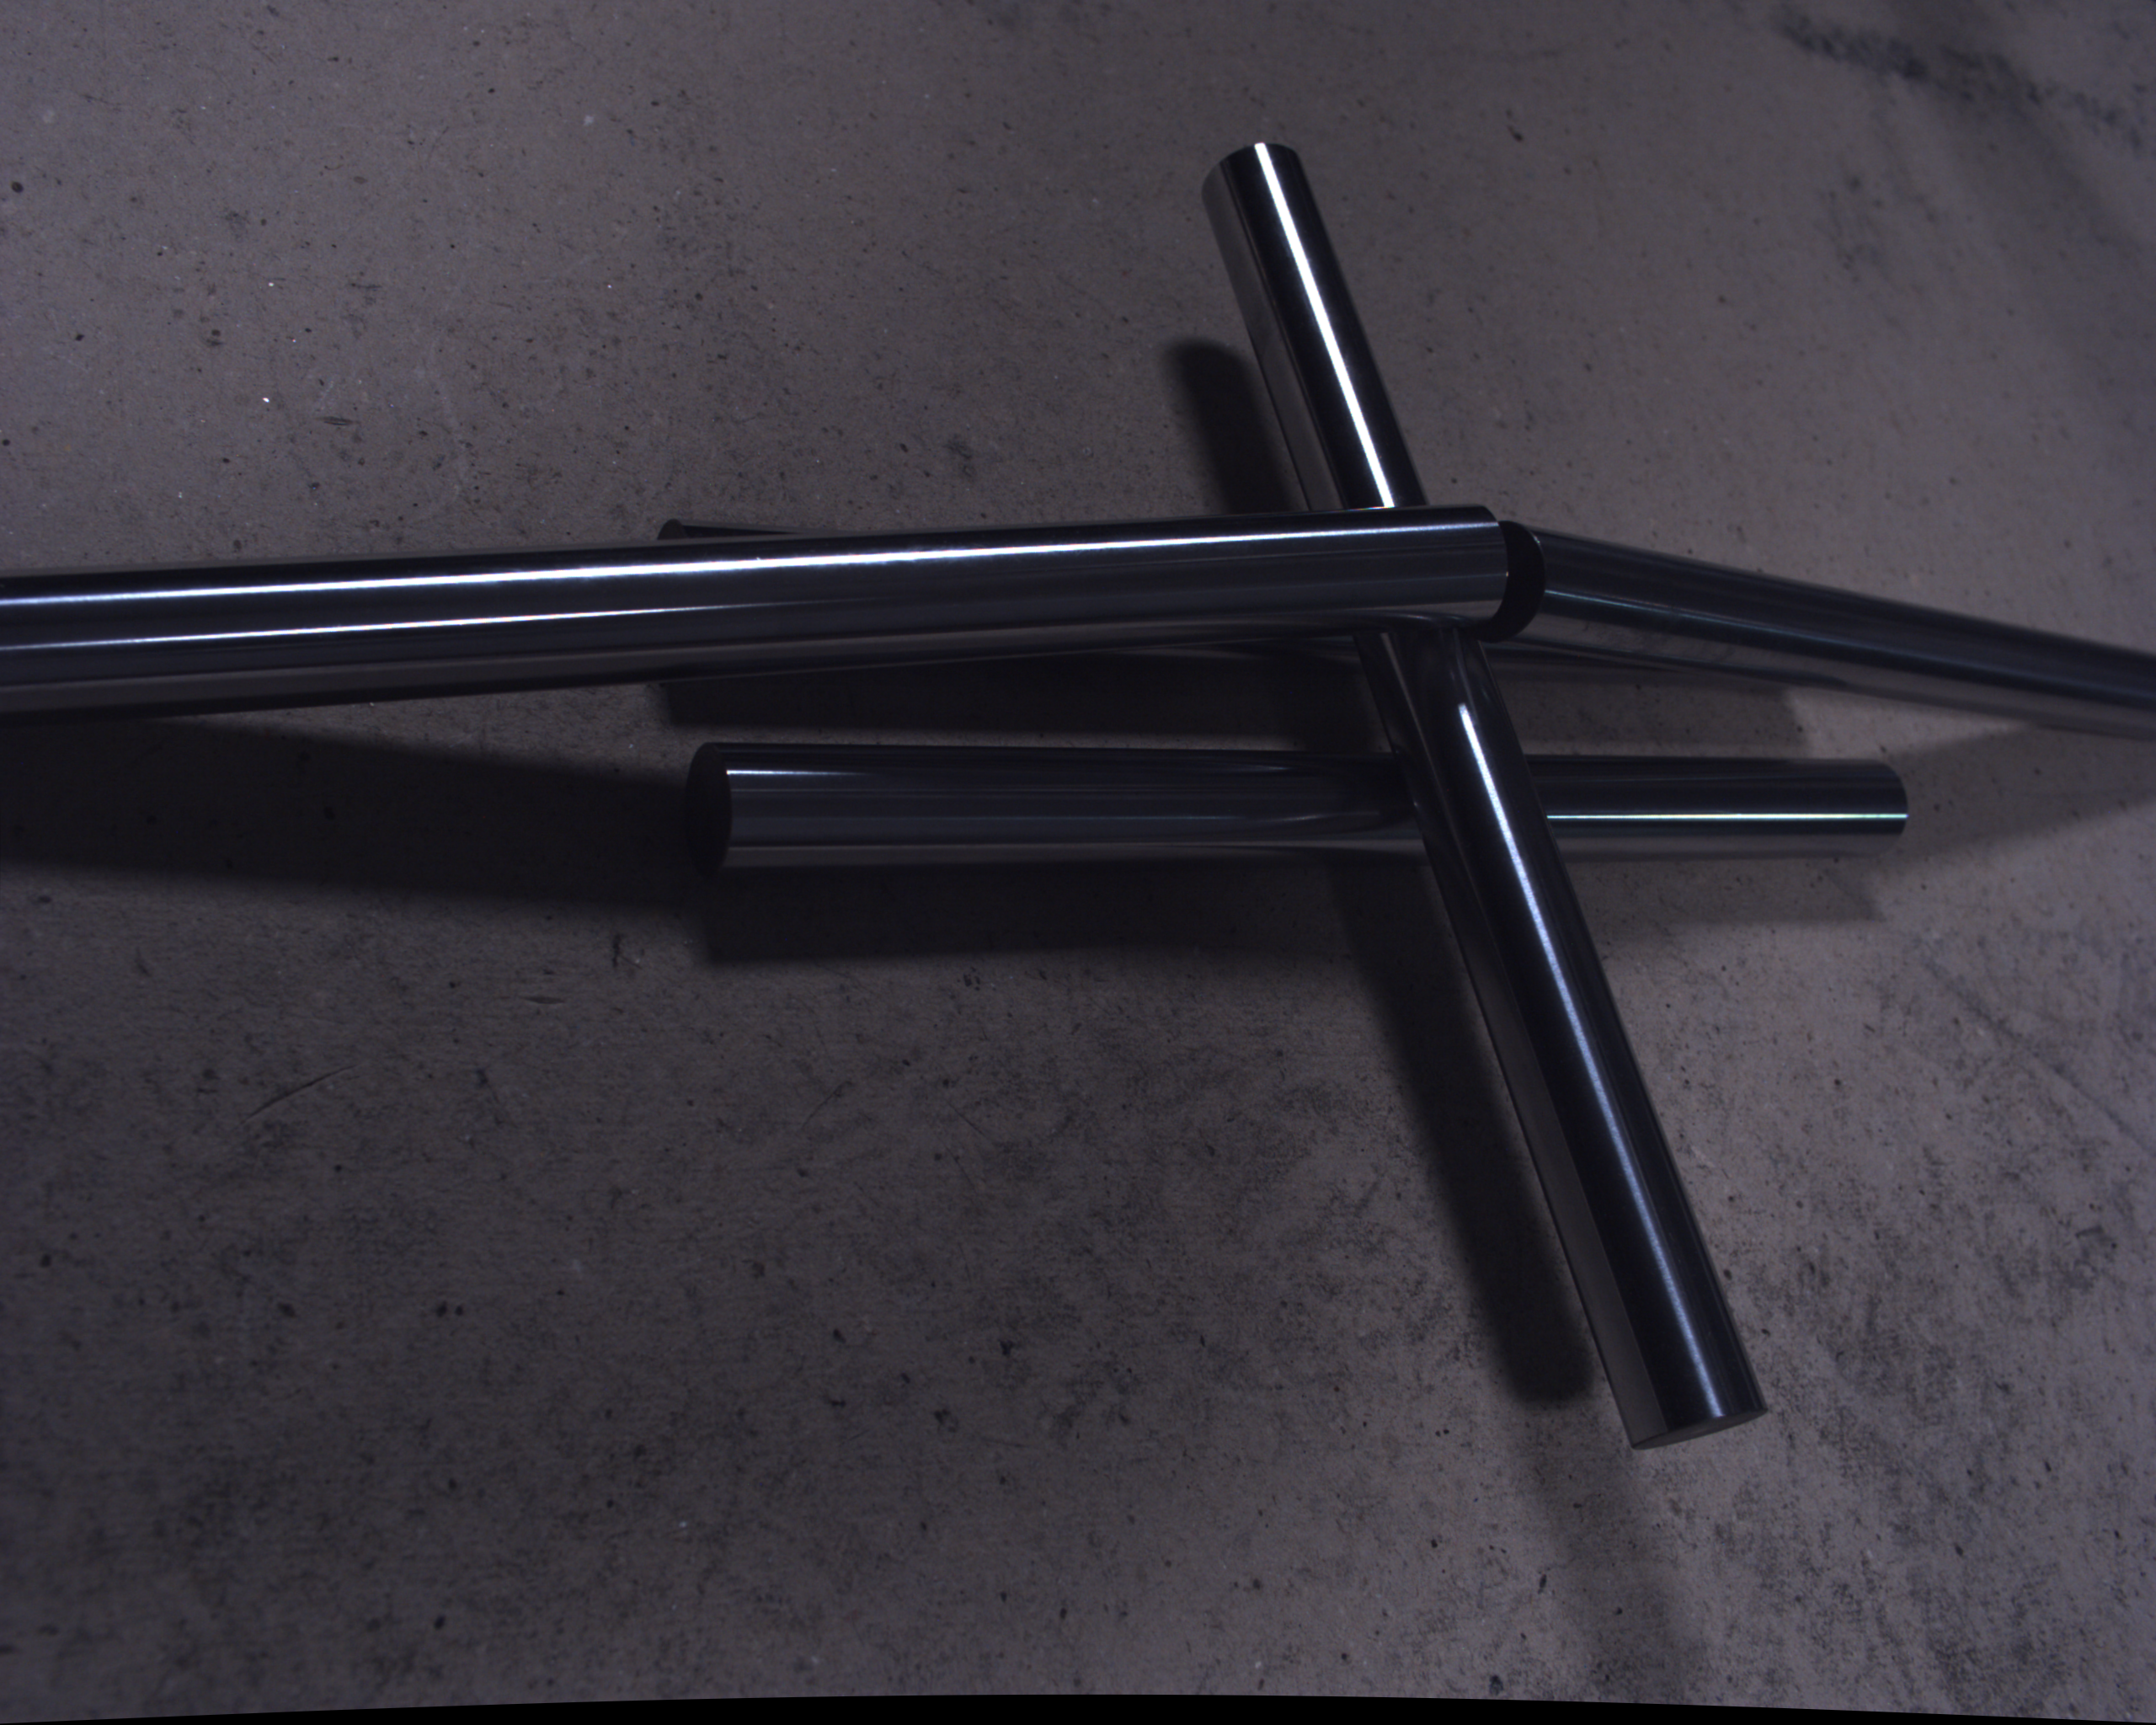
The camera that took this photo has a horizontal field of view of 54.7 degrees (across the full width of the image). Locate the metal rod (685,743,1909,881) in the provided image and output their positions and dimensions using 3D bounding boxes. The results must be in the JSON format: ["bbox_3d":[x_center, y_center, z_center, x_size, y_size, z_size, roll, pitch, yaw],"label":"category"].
[{"bbox_3d":[0.065,-0.011,0.449,0.303,0.025,0.025,-1,62,-29],"label":"metal rod"}]

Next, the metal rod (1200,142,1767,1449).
[{"bbox_3d":[0.076,-0.030,0.435,0.025,0.025,0.299,0,62,-29],"label":"metal rod"}]

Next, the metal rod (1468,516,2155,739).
[{"bbox_3d":[0.202,-0.053,0.517,0.302,0.025,0.025,2,60,-39],"label":"metal rod"}]

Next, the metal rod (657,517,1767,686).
[{"bbox_3d":[0.054,-0.055,0.469,0.303,0.025,0.025,-1,62,-29],"label":"metal rod"}]

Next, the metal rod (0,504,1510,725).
[{"bbox_3d":[-0.060,-0.046,0.370,0.303,0.025,0.025,-6,65,-21],"label":"metal rod"}]
